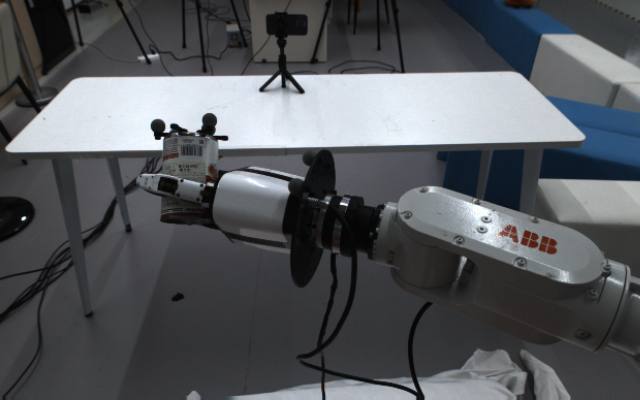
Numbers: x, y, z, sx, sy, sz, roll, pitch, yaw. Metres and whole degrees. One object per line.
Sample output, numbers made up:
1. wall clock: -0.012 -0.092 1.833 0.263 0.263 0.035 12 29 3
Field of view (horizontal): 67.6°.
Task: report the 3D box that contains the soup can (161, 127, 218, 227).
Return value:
1. soup can: -0.156 -0.023 0.585 0.067 0.101 0.067 -2 -9 0
